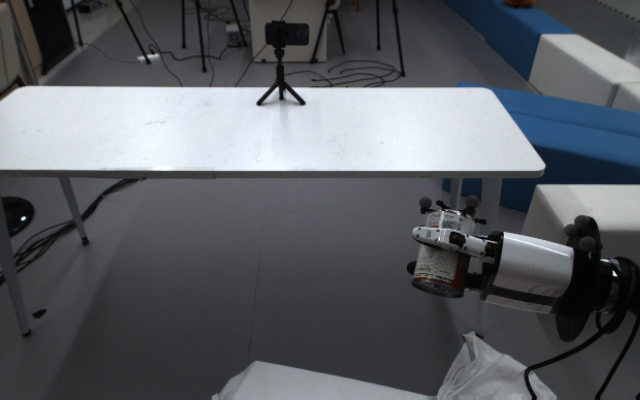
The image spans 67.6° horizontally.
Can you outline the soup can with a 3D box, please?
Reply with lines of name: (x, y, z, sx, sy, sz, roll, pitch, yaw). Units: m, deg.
soup can: (0.166, 0.068, 0.643, 0.067, 0.067, 0.101, 12, 70, 14)
